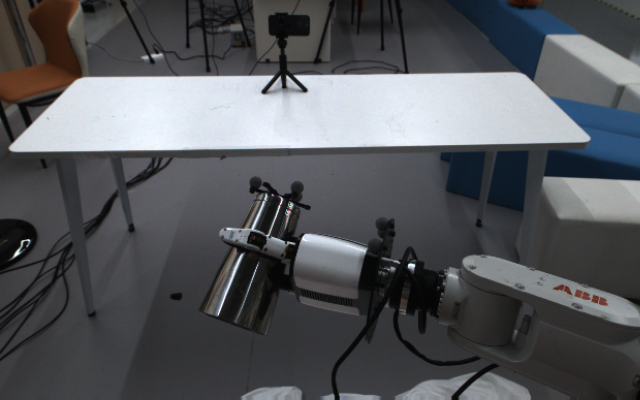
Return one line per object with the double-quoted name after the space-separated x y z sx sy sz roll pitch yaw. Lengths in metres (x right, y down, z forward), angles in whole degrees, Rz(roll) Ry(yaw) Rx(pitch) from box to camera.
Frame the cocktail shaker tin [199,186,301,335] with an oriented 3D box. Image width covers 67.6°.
-0.085 0.080 0.636 0.093 0.093 0.170 14 69 16 "cocktail shaker tin"
